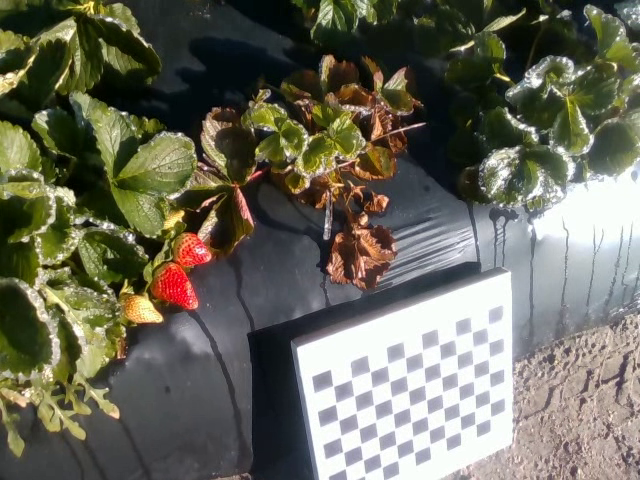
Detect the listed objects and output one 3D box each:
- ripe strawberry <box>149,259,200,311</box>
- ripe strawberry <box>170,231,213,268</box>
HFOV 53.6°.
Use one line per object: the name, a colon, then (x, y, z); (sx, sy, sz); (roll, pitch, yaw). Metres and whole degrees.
ripe strawberry: (-0.128, 0.047, 0.569); (0.051, 0.037, 0.040); (38, -1, 6)
ripe strawberry: (-0.118, 0.010, 0.581); (0.041, 0.036, 0.030); (13, 13, -24)
